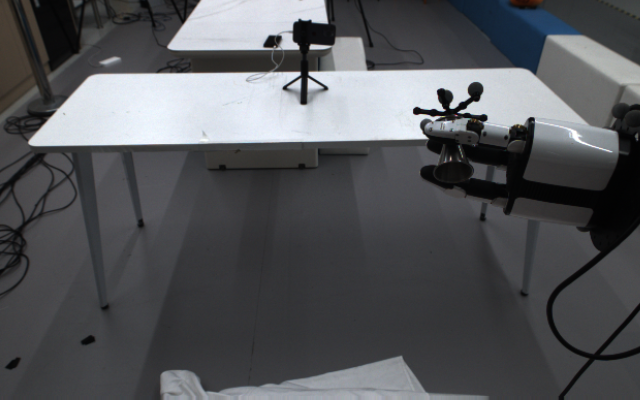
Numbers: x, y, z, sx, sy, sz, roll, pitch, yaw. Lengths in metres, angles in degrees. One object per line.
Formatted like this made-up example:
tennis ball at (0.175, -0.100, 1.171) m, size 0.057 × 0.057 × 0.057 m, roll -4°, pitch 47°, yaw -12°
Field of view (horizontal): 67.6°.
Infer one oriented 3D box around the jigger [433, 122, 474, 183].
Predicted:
jigger at (0.151, -0.059, 0.562) m, size 0.043 × 0.043 × 0.071 m, roll 4°, pitch 61°, yaw 3°
